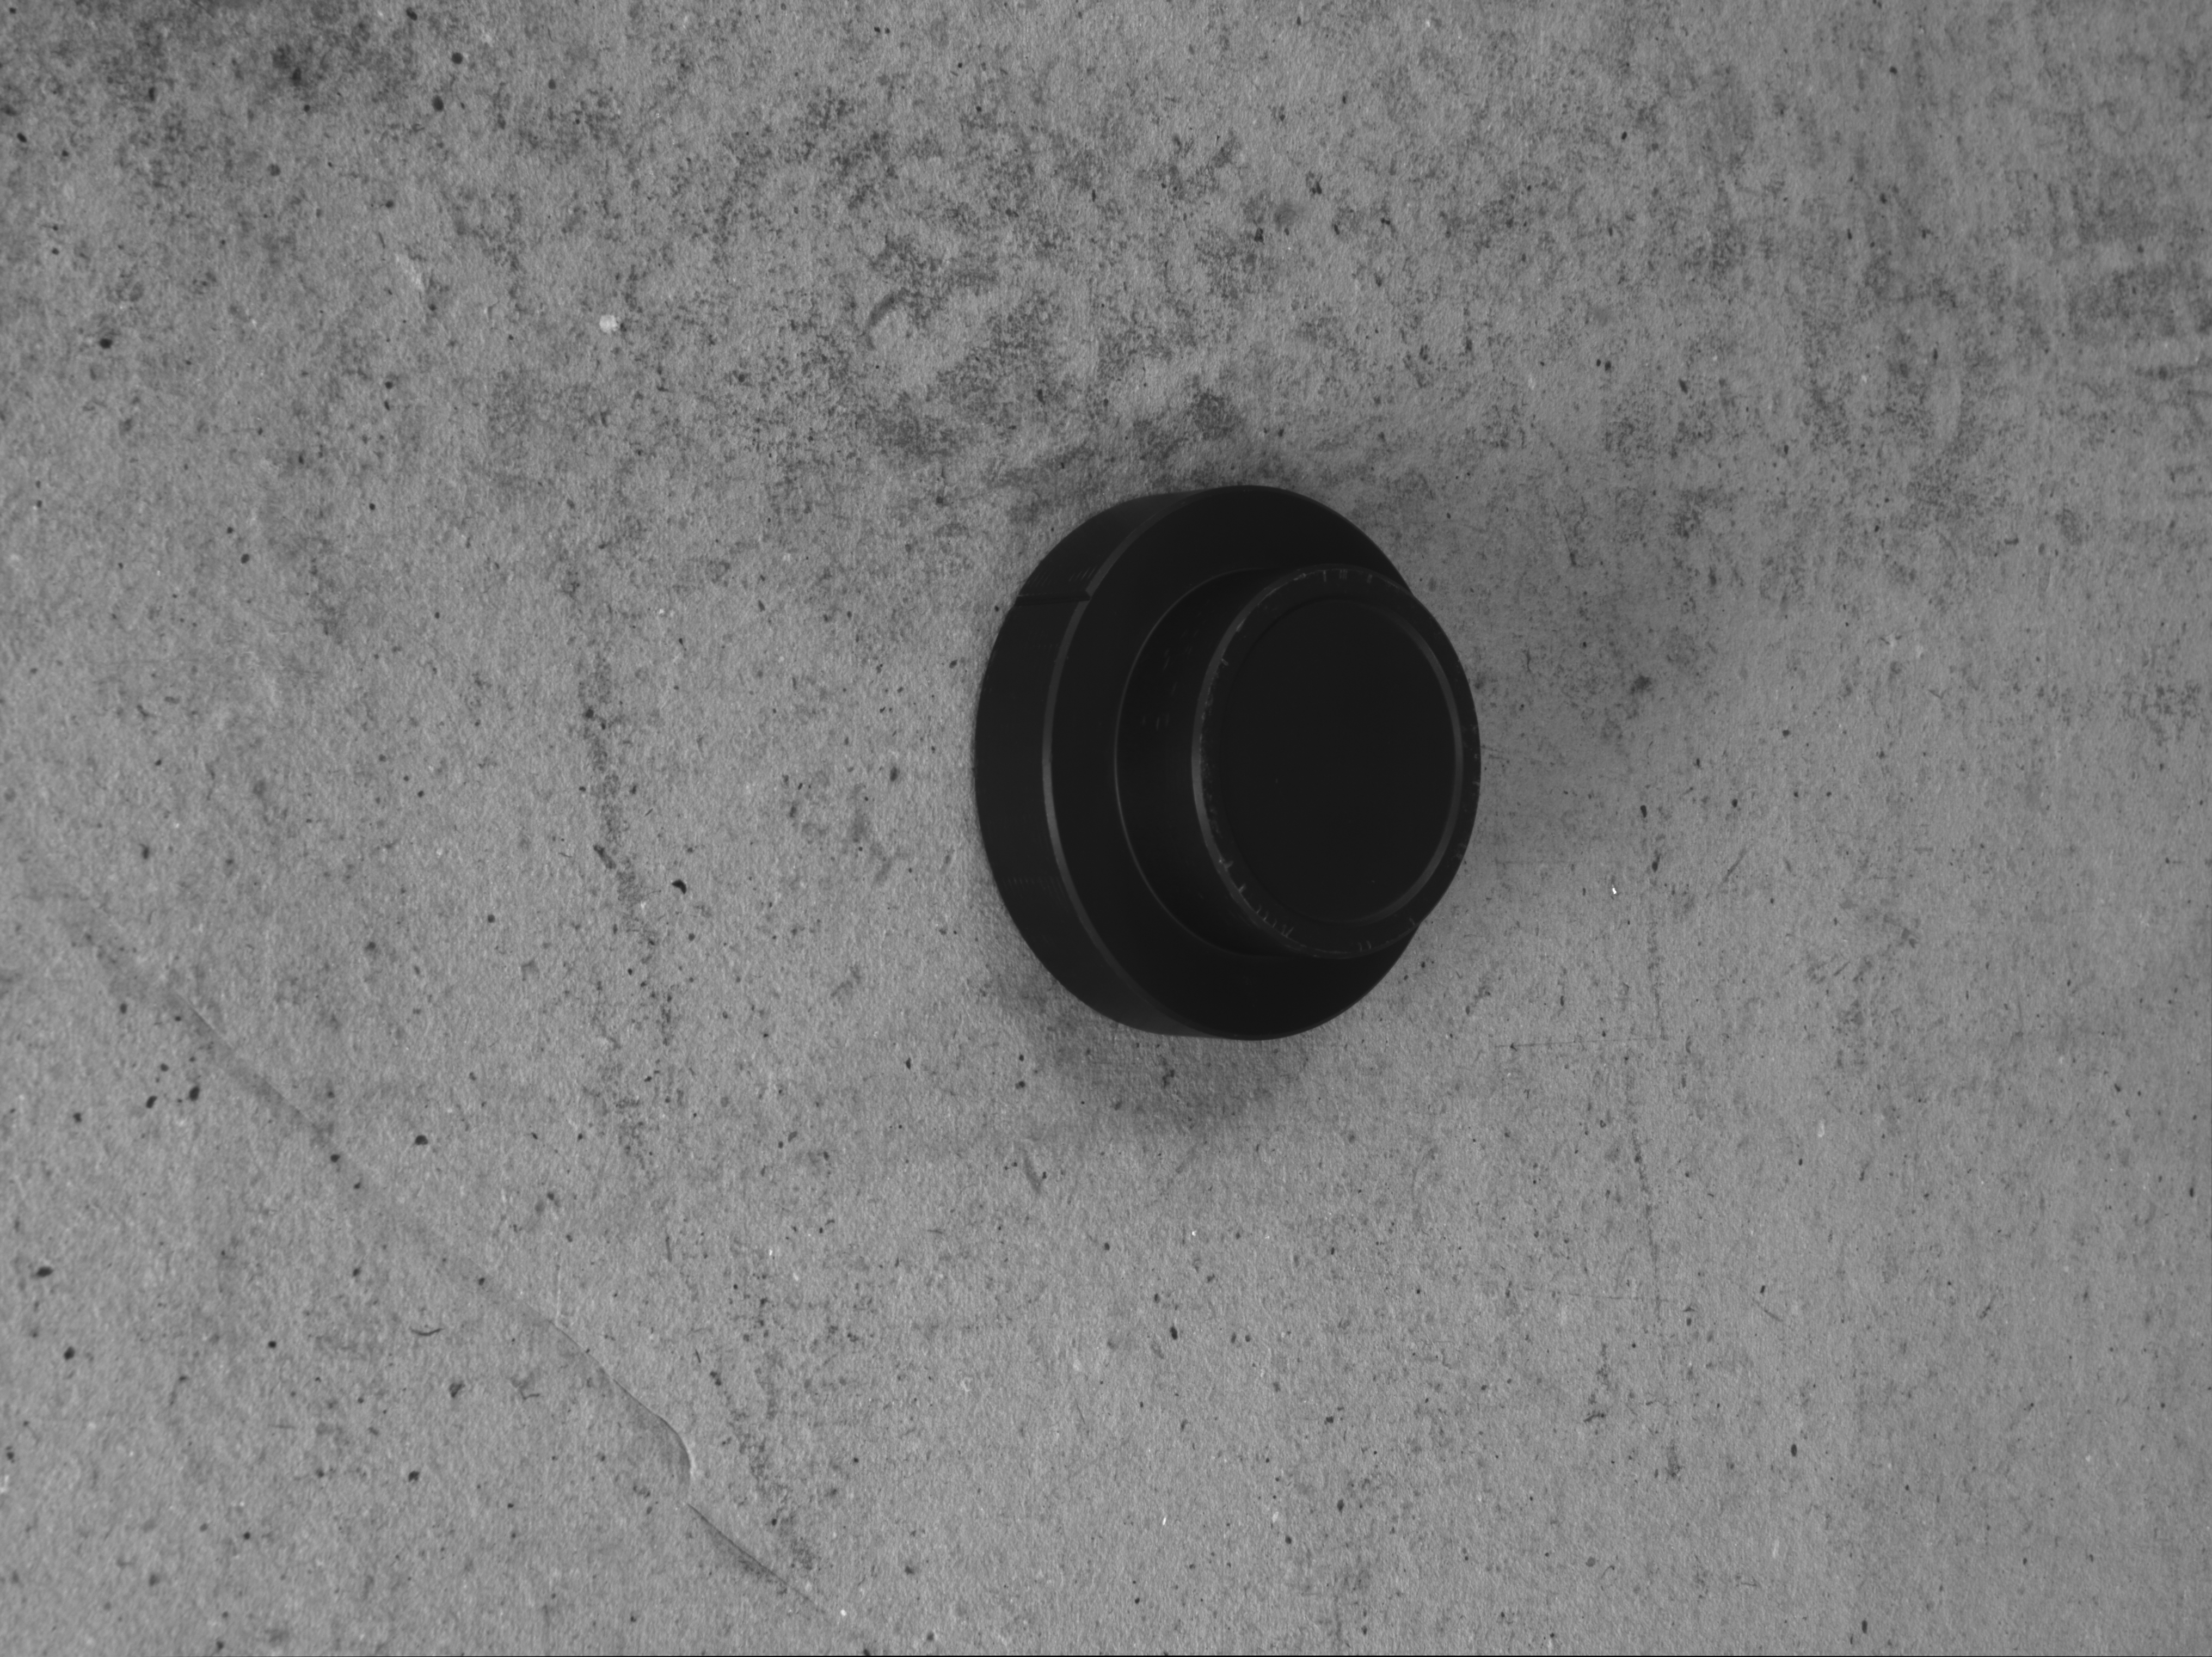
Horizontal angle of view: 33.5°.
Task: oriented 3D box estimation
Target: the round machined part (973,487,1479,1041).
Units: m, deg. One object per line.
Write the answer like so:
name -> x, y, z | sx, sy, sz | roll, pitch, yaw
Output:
round machined part -> 0.028, -0.011, 0.649 | 0.098, 0.042, 0.098 | 0, 90, -40
